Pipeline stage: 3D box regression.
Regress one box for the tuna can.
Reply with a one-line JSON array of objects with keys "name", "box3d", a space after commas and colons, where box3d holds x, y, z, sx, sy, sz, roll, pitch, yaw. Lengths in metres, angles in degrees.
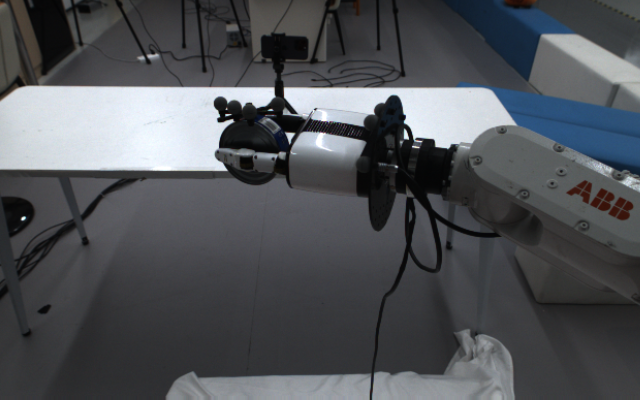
[{"name": "tuna can", "box3d": [-0.081, -0.065, 0.616, 0.085, 0.085, 0.034, 14, 29, 16]}]
